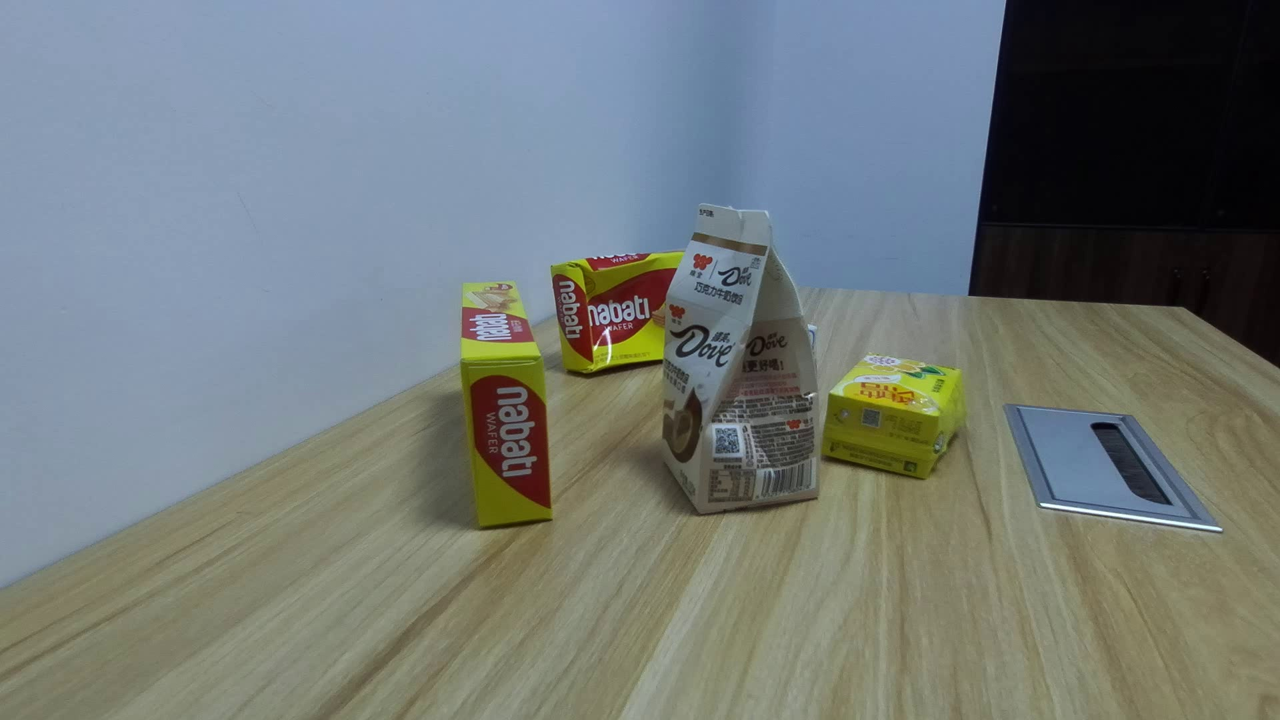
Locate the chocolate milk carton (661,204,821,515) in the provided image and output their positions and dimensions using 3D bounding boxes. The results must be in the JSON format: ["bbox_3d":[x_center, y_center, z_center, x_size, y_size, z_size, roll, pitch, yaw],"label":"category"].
[{"bbox_3d":[0.056,-0.005,0.384,0.073,0.155,0.084,-5,20,-12],"label":"chocolate milk carton"}]

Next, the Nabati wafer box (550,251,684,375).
[{"bbox_3d":[0.027,-0.050,0.630,0.204,0.096,0.042,-9,13,-26],"label":"Nabati wafer box"}]

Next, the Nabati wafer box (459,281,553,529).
[{"bbox_3d":[-0.087,0.014,0.444,0.042,0.093,0.202,-5,18,-13],"label":"Nabati wafer box"}]

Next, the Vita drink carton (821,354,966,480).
[{"bbox_3d":[0.168,0.033,0.455,0.076,0.043,0.109,13,20,28],"label":"Vita drink carton"}]
